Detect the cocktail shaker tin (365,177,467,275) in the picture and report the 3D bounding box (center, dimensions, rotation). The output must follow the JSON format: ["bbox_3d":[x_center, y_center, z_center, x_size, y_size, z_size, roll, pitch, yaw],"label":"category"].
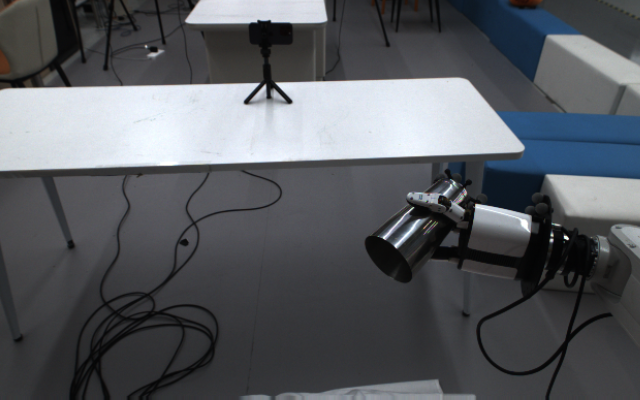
[{"bbox_3d":[0.160,0.035,0.760,0.170,0.093,0.093,-38,50,-24],"label":"cocktail shaker tin"}]
